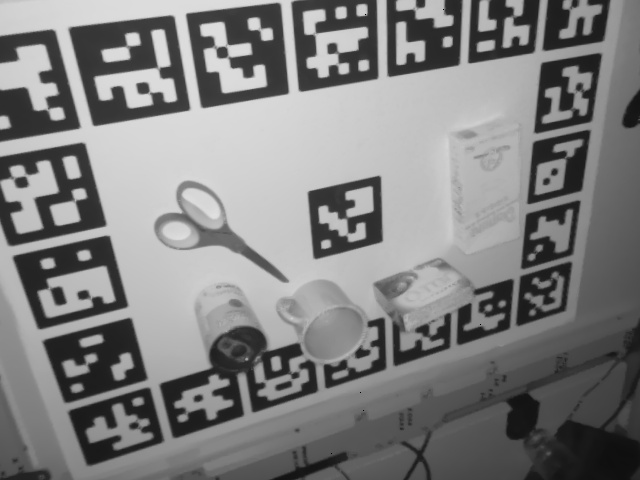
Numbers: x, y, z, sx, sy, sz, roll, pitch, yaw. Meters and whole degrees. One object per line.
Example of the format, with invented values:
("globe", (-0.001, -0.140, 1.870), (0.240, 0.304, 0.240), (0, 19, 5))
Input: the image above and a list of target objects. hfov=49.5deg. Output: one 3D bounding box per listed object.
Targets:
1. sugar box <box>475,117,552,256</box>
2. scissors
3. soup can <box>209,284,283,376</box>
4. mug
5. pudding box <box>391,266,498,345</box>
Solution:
("sugar box", (0.259, -0.065, 0.922), (0.094, 0.045, 0.175), (-17, 117, -16))
("scissors", (-0.088, 0.002, 0.826), (0.204, 0.016, 0.088), (37, 87, -30))
("soup can", (-0.091, 0.105, 0.834), (0.068, 0.102, 0.067), (-10, 118, -18))
("mug", (0.021, 0.115, 0.886), (0.093, 0.081, 0.118), (-46, 123, 1))
("pudding box", (0.165, 0.085, 0.920), (0.115, 0.089, 0.038), (-21, 113, -10))
